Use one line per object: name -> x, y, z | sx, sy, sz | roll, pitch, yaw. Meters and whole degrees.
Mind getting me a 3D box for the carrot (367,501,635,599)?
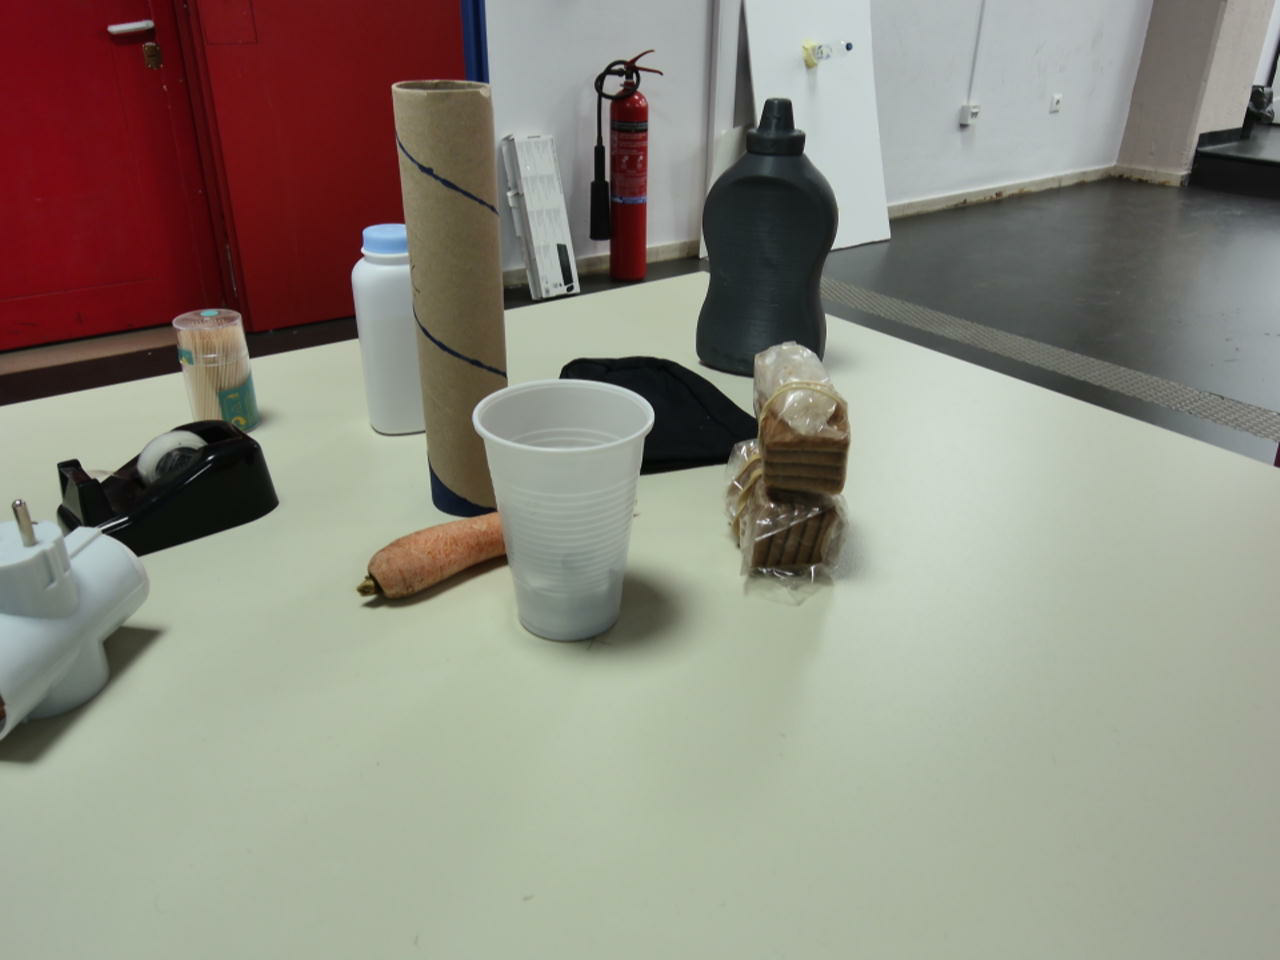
carrot -> -0.072, 0.028, 0.536 | 0.163, 0.029, 0.031 | -18, 30, -33
